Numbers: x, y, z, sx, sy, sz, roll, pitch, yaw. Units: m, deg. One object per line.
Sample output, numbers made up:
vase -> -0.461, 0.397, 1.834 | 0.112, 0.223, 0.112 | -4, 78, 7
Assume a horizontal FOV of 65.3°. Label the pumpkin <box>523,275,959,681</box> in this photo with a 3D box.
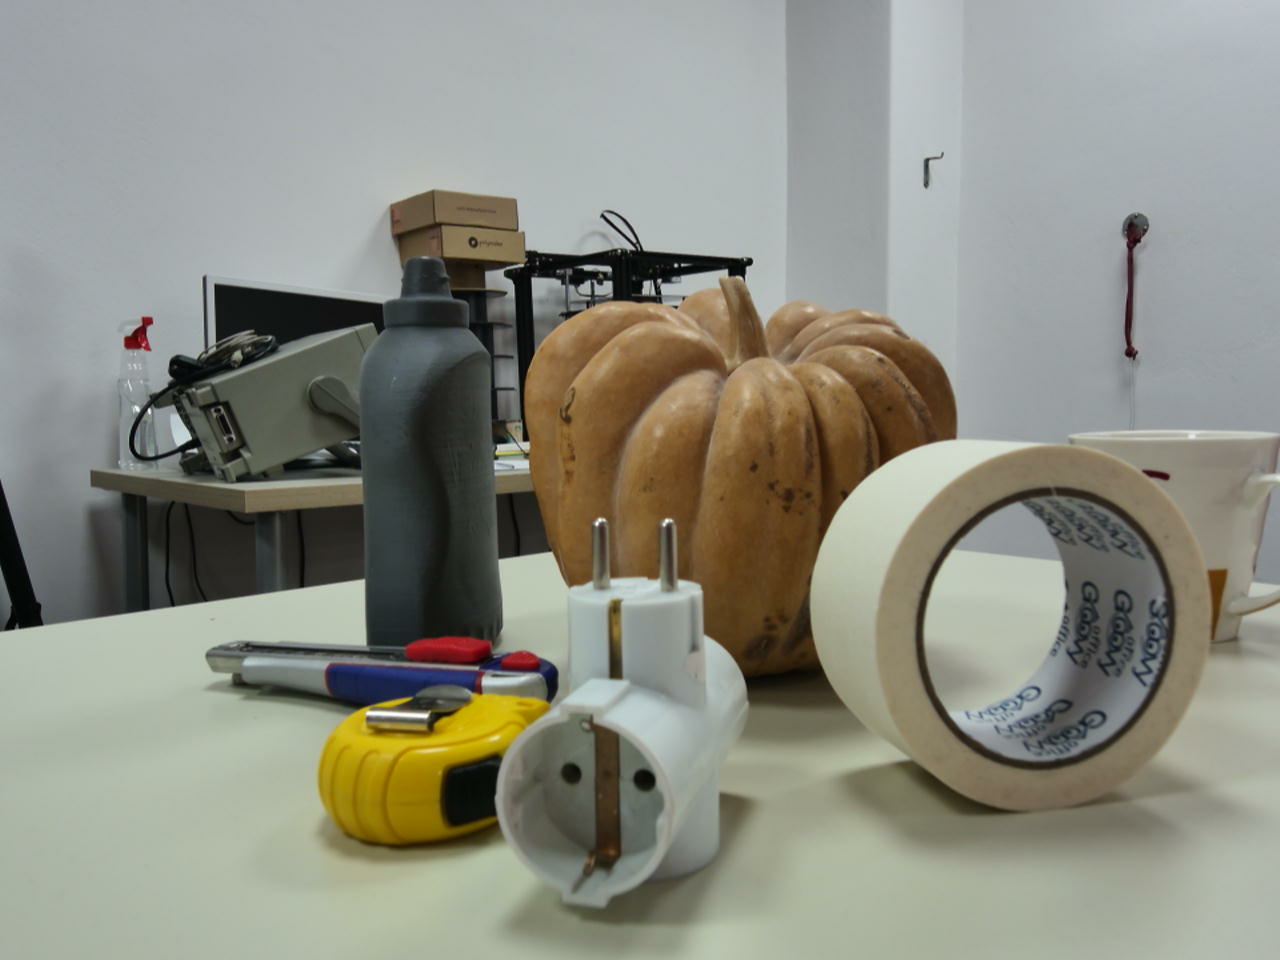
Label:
pumpkin -> 0.046, -0.001, 0.459 | 0.199, 0.177, 0.198 | 0, 3, 0
